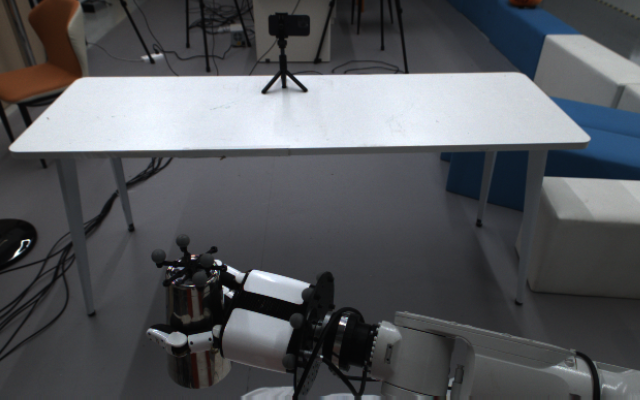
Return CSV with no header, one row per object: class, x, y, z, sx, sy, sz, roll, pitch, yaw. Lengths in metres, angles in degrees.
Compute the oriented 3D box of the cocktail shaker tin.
cocktail shaker tin,-0.165,0.160,0.646,0.093,0.170,0.093,3,31,-2
